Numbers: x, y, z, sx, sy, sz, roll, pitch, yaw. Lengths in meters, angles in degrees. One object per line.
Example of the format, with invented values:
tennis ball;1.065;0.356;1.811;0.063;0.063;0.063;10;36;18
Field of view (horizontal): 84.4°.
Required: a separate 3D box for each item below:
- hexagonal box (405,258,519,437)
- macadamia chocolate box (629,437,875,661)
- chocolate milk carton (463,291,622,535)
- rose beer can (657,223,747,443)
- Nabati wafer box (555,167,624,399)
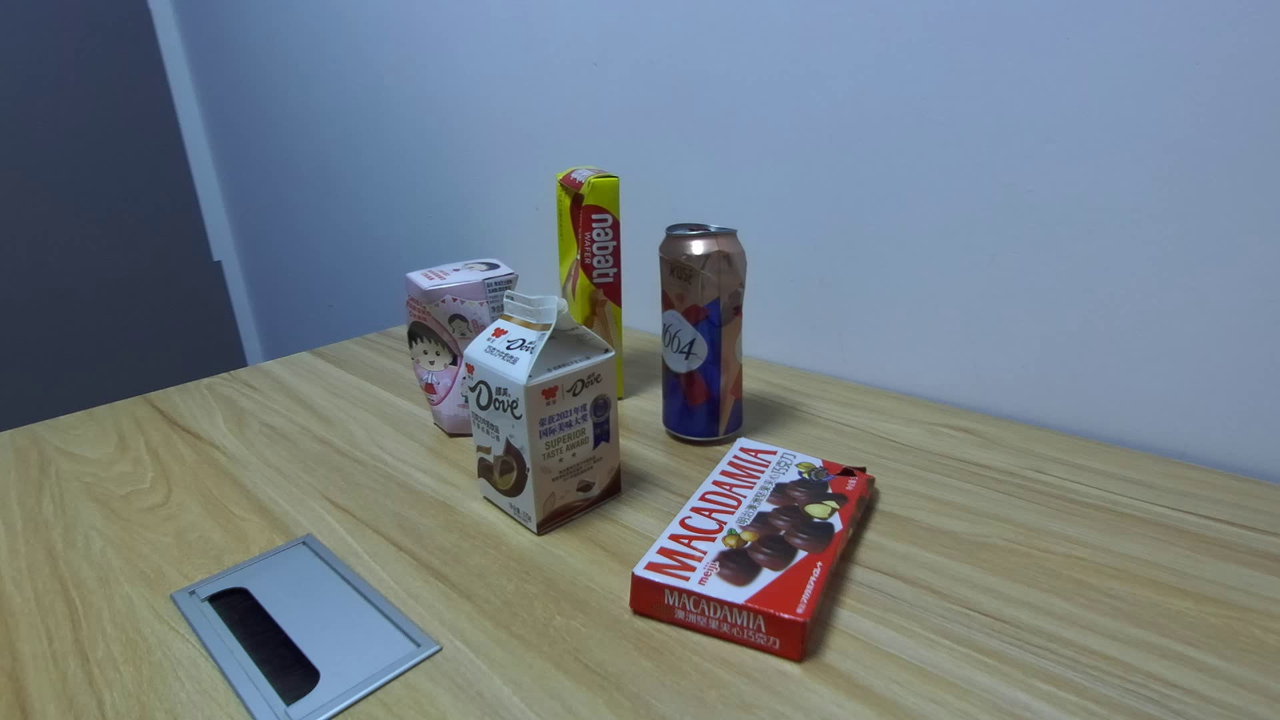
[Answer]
hexagonal box;-0.147;-0.012;0.614;0.088;0.134;0.093;5;22;20
macadamia chocolate box;0.079;0.099;0.428;0.102;0.027;0.187;9;23;24
chocolate milk carton;-0.064;0.026;0.469;0.074;0.148;0.075;-20;27;-38
rose beer can;0.051;-0.020;0.554;0.065;0.167;0.075;-4;18;-11
Nabati wafer box;-0.047;-0.069;0.646;0.042;0.203;0.096;-6;21;-14
